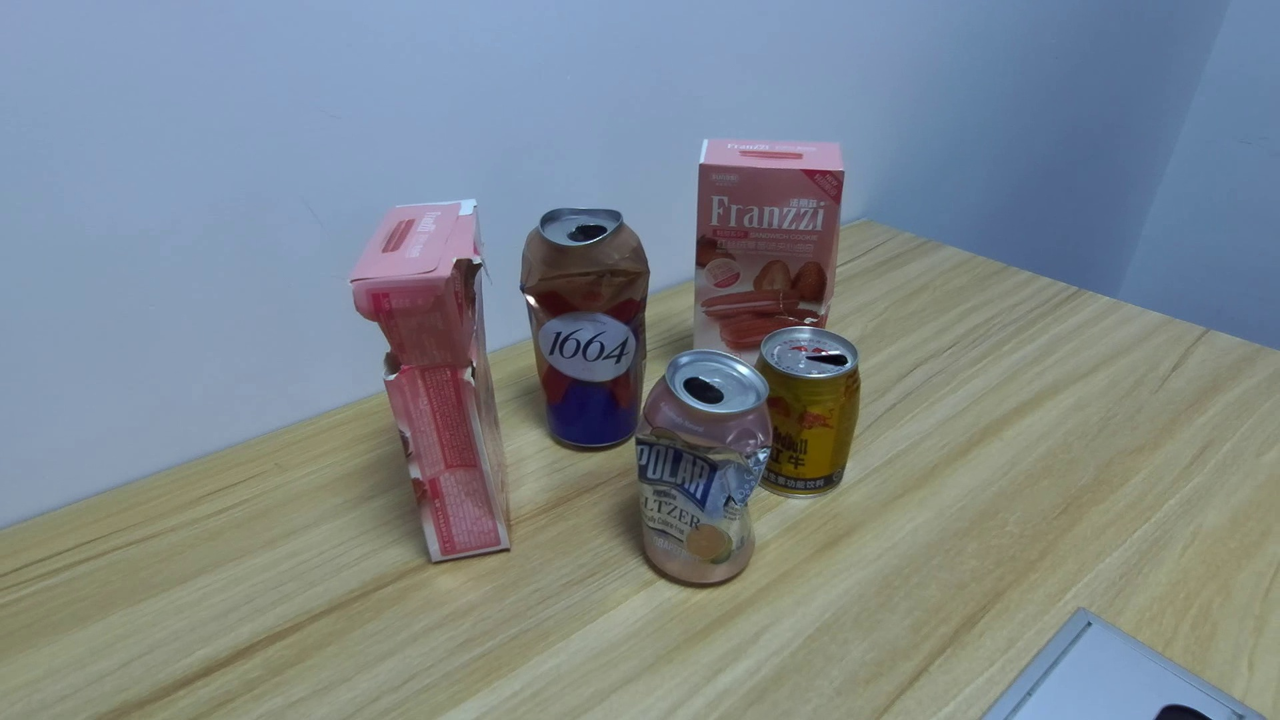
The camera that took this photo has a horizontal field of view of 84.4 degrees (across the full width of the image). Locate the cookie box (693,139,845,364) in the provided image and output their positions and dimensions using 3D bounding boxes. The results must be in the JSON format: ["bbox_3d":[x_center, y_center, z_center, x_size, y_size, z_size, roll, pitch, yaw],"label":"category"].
[{"bbox_3d":[0.095,-0.064,0.526,0.105,0.188,0.049,4,37,7],"label":"cookie box"}]

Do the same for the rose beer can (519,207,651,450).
[{"bbox_3d":[-0.034,-0.019,0.479,0.074,0.162,0.067,-17,35,-22],"label":"rose beer can"}]

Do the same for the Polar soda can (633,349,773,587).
[{"bbox_3d":[0.039,0.060,0.387,0.070,0.122,0.067,24,34,33],"label":"Polar soda can"}]

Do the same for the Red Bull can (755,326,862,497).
[{"bbox_3d":[0.104,0.033,0.453,0.069,0.092,0.069,-1,31,1],"label":"Red Bull can"}]

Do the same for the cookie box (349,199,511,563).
[{"bbox_3d":[-0.105,0.015,0.404,0.059,0.186,0.105,-6,32,-6],"label":"cookie box"}]
